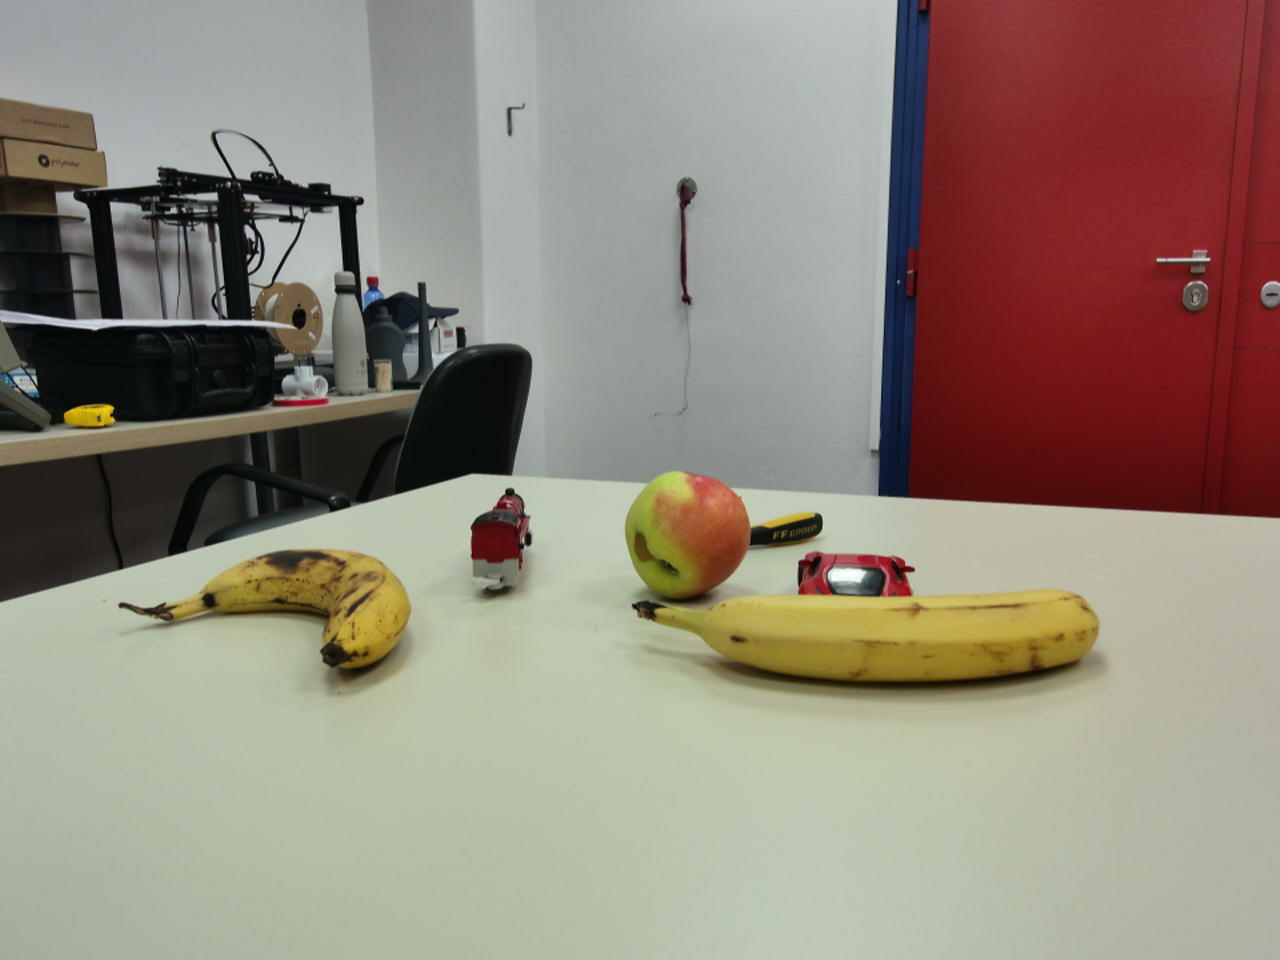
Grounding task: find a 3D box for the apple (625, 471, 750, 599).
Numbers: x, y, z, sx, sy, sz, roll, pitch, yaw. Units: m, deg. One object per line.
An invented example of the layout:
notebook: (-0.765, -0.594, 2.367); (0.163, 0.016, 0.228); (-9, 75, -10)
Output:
apple: (0.028, 0.033, 0.599); (0.075, 0.074, 0.075); (1, 7, 3)
